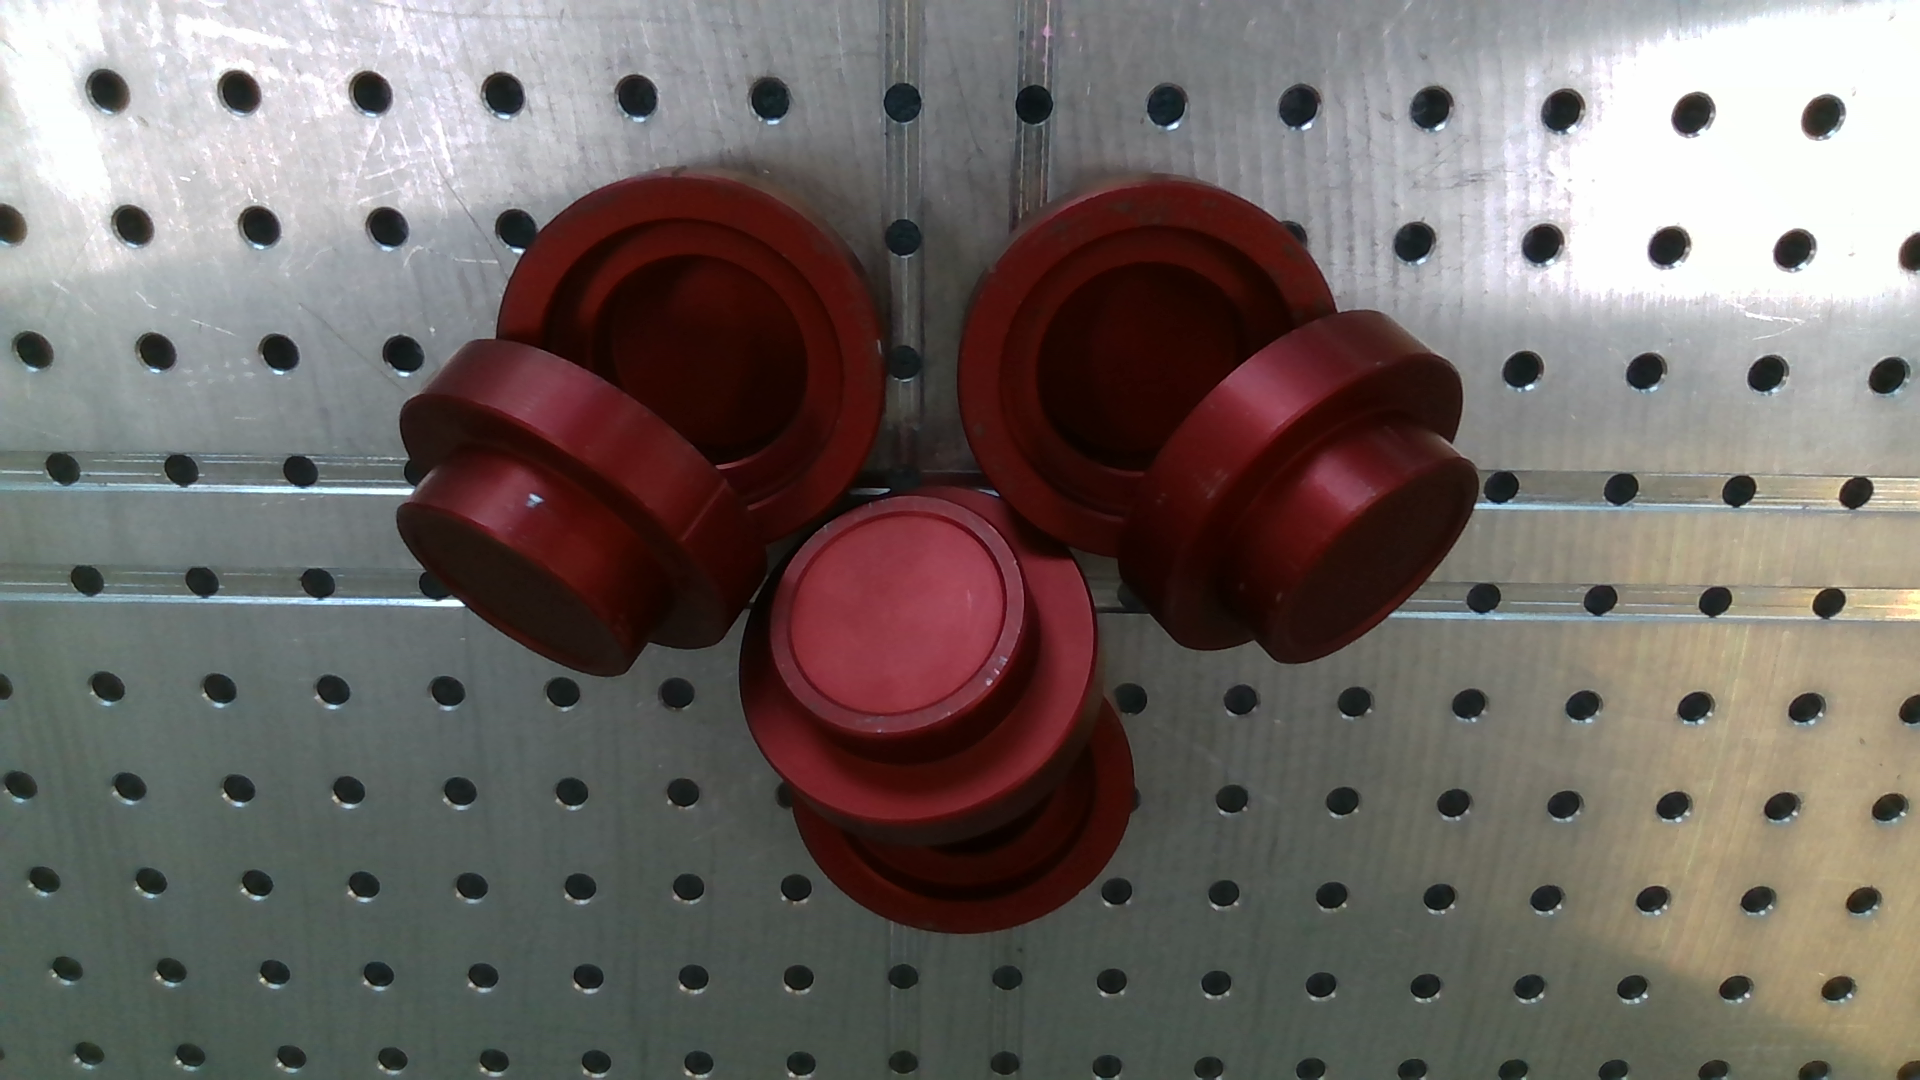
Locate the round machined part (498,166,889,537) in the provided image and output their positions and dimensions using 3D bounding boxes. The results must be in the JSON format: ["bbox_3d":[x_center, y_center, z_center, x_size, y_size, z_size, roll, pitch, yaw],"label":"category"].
[{"bbox_3d":[-0.068,-0.050,0.367,0.098,0.042,0.098,0,110,0],"label":"round machined part"}]

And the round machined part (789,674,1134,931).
[{"bbox_3d":[0.000,0.063,0.409,0.098,0.042,0.098,0,110,0],"label":"round machined part"}]

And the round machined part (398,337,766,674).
[{"bbox_3d":[-0.103,-0.002,0.355,0.098,0.042,0.098,23,151,14],"label":"round machined part"}]

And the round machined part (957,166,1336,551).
[{"bbox_3d":[0.048,-0.049,0.367,0.098,0.042,0.098,0,110,0],"label":"round machined part"}]

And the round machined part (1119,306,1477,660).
[{"bbox_3d":[0.092,-0.007,0.354,0.098,0.042,0.098,-27,146,-20],"label":"round machined part"}]

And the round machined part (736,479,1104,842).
[{"bbox_3d":[-0.013,0.026,0.364,0.098,0.098,0.042,-13,151,5],"label":"round machined part"}]
